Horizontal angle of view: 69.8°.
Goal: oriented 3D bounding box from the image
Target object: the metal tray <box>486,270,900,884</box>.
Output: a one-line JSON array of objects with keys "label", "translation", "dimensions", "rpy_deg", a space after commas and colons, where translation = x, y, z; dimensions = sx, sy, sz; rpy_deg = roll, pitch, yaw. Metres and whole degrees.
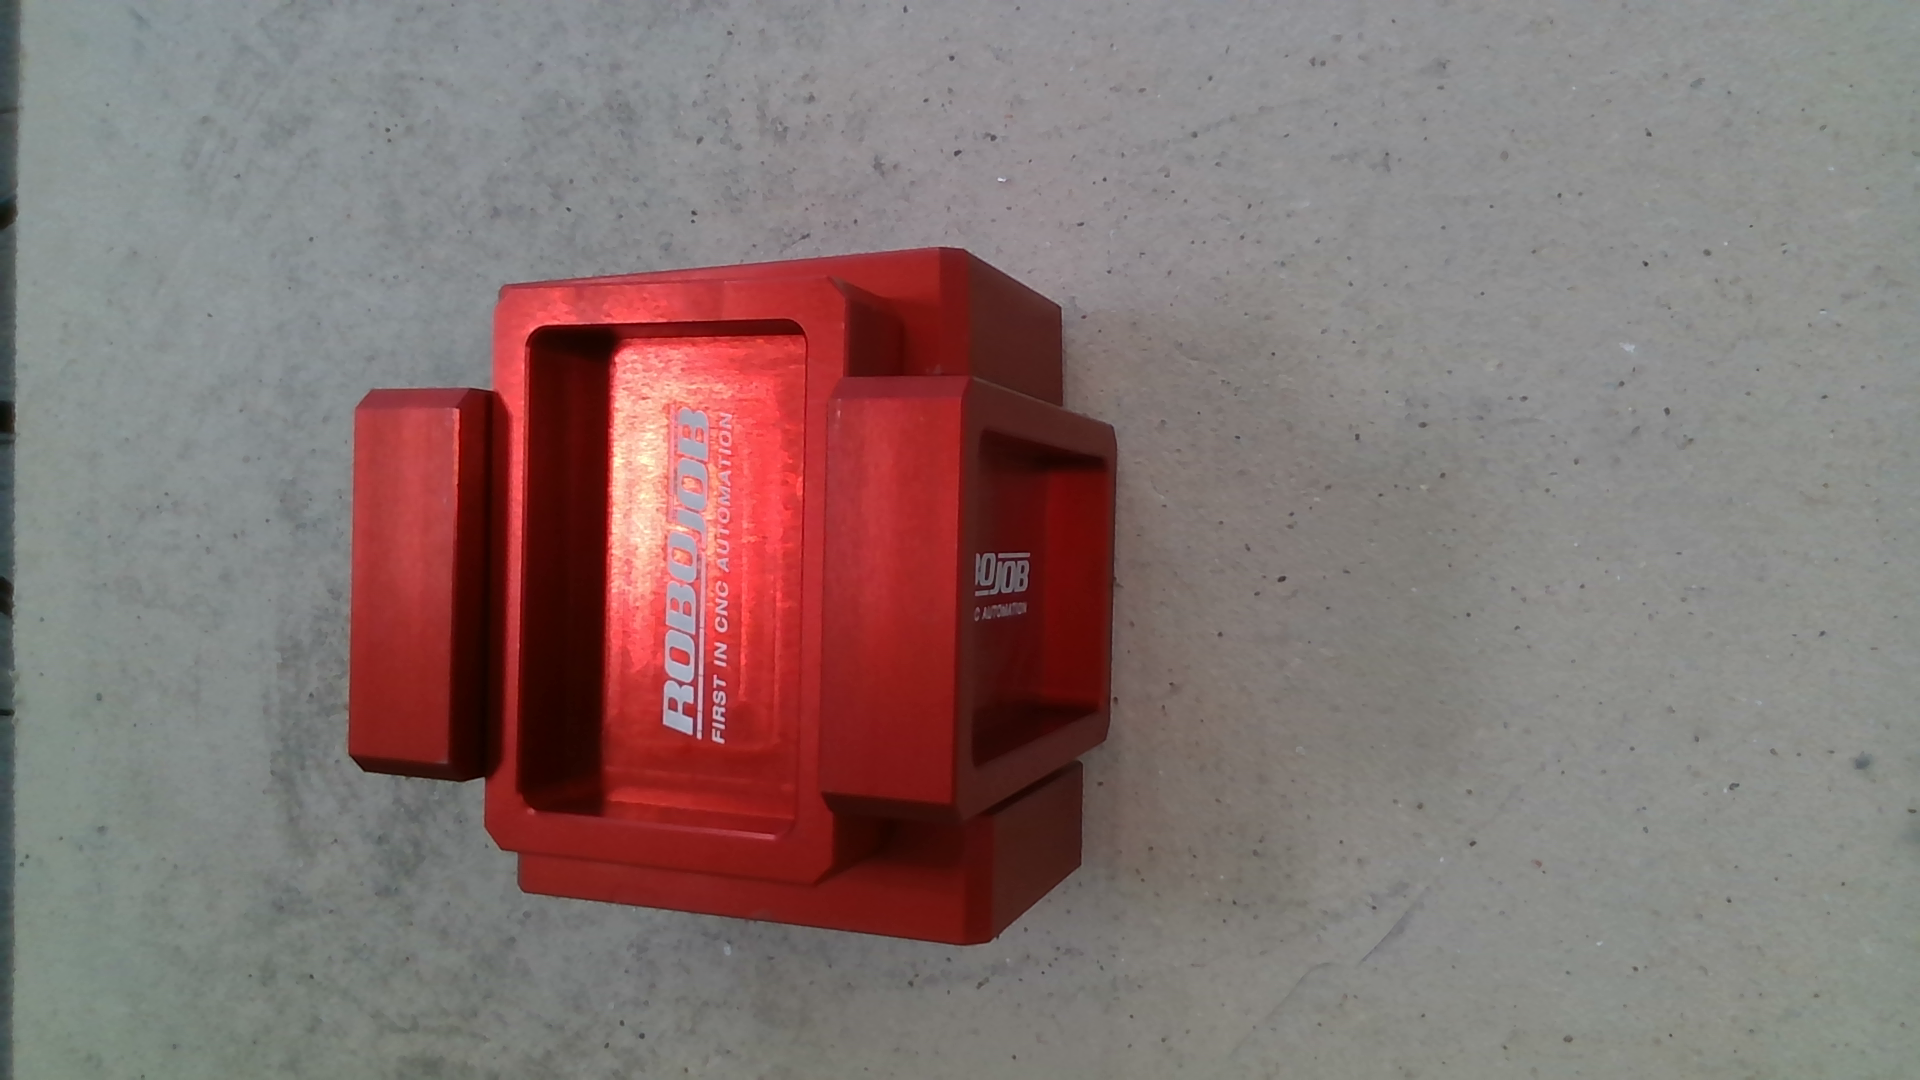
[{"label": "metal tray", "translation": [-0.062, 0.007, 0.318], "dimensions": [0.090, 0.030, 0.130], "rpy_deg": [2, 91, 21]}]

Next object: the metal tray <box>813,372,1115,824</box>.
[{"label": "metal tray", "translation": [0.007, 0.011, 0.335], "dimensions": [0.030, 0.130, 0.090], "rpy_deg": [2, 91, 20]}]

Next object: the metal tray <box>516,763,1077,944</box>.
[{"label": "metal tray", "translation": [-0.041, 0.076, 0.374], "dimensions": [0.130, 0.090, 0.030], "rpy_deg": [1, 90, 19]}]

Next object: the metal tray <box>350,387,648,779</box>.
[{"label": "metal tray", "translation": [-0.105, 0.010, 0.376], "dimensions": [0.030, 0.130, 0.090], "rpy_deg": [2, 91, 21]}]

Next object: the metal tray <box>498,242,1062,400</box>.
[{"label": "metal tray", "translation": [-0.046, -0.052, 0.375], "dimensions": [0.130, 0.090, 0.030], "rpy_deg": [-1, 90, 20]}]
